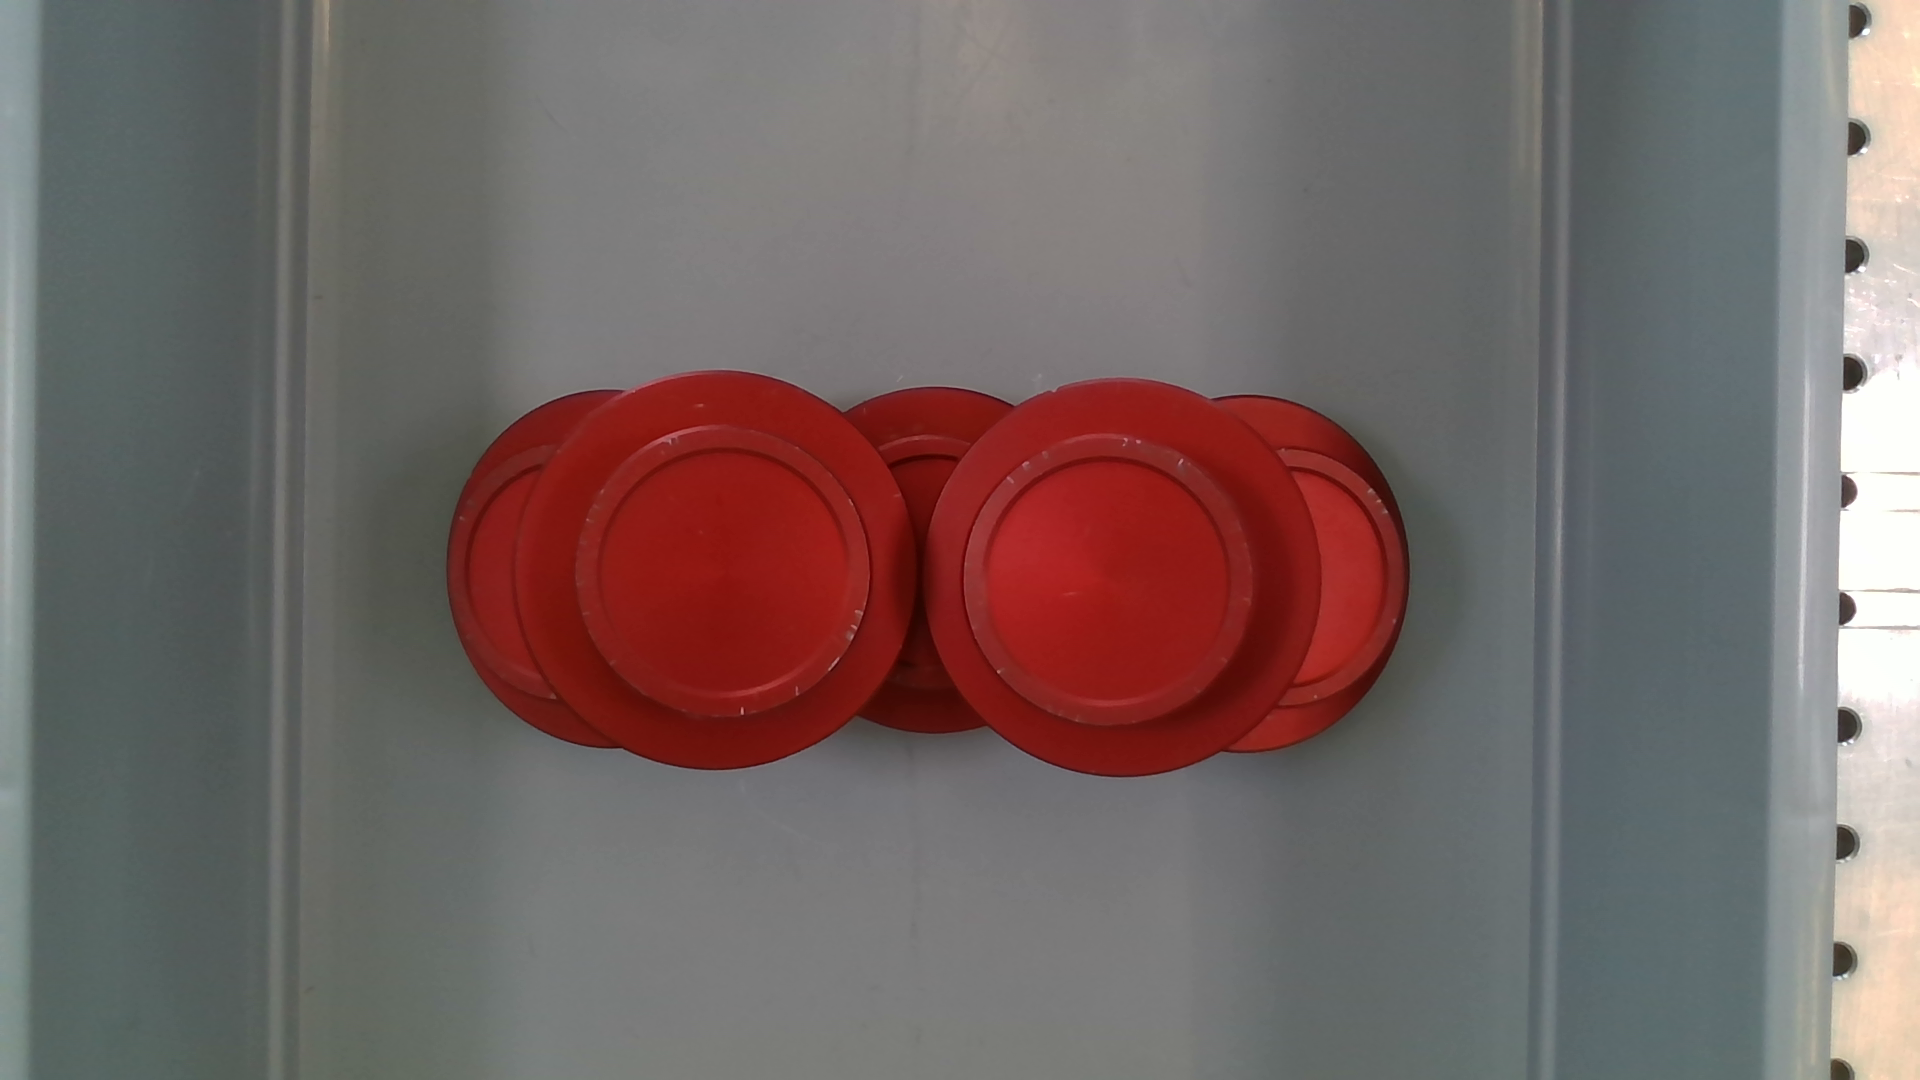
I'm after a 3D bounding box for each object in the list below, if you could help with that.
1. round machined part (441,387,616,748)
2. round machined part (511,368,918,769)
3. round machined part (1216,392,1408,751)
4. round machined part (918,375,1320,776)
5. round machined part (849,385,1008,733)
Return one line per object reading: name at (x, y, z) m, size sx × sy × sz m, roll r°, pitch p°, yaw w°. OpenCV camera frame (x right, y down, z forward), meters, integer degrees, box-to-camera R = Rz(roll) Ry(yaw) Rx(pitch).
round machined part at (-0.098, 0.007, 0.372) m, size 0.098 × 0.042 × 0.098 m, roll 0°, pitch 90°, yaw 15°
round machined part at (-0.058, 0.007, 0.335) m, size 0.098 × 0.042 × 0.098 m, roll 0°, pitch 90°, yaw -11°
round machined part at (0.080, 0.009, 0.375) m, size 0.098 × 0.042 × 0.098 m, roll 0°, pitch 90°, yaw -16°
round machined part at (0.037, 0.009, 0.335) m, size 0.098 × 0.042 × 0.098 m, roll 0°, pitch 90°, yaw 12°
round machined part at (-0.006, 0.005, 0.386) m, size 0.098 × 0.042 × 0.098 m, roll 0°, pitch 90°, yaw -1°
